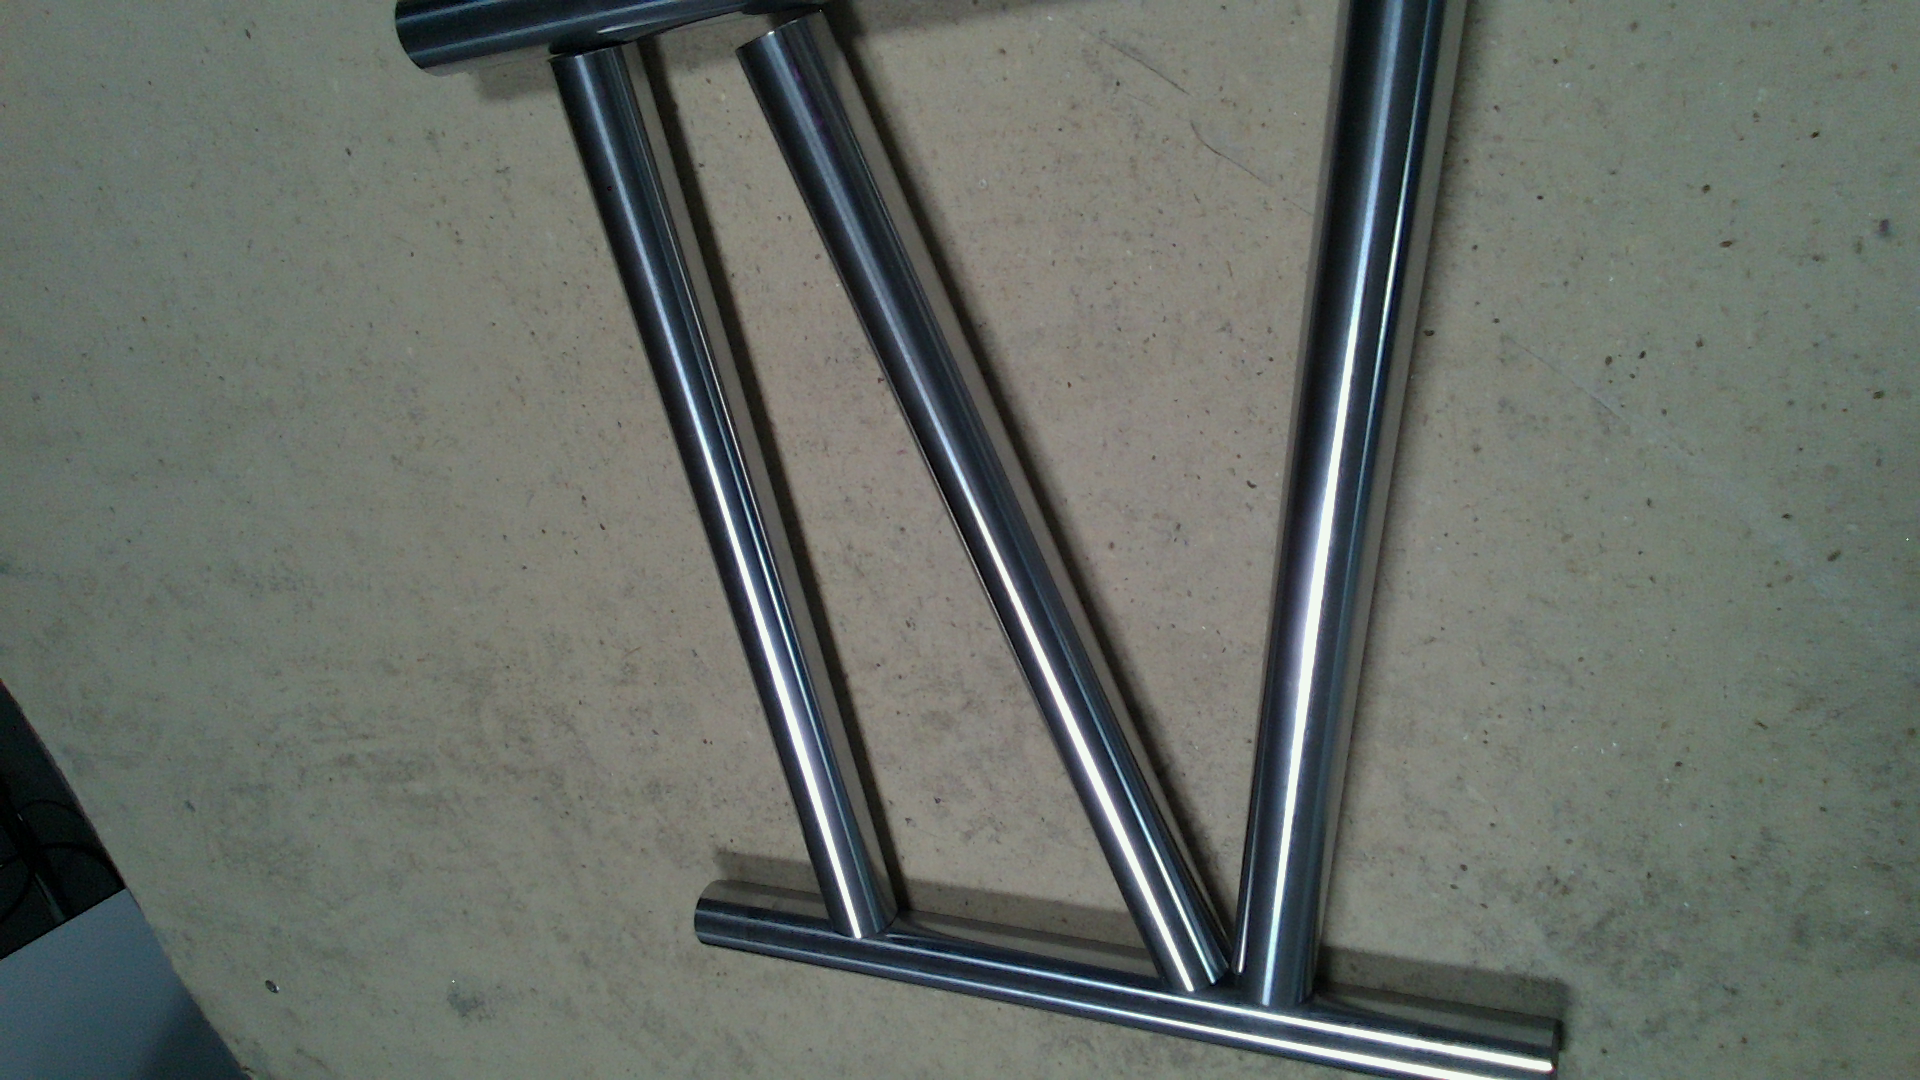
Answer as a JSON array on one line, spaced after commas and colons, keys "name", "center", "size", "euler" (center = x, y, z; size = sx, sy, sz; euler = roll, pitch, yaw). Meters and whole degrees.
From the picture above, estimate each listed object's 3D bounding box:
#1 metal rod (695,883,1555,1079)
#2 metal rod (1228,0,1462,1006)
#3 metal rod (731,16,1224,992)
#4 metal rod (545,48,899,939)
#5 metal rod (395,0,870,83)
[{"name": "metal rod", "center": [0.038, 0.147, 0.463], "size": [0.299, 0.025, 0.025], "euler": [1, 119, 28]}, {"name": "metal rod", "center": [0.091, 0.005, 0.346], "size": [0.025, 0.025, 0.300], "euler": [12, 124, 22]}, {"name": "metal rod", "center": [0.014, 0.004, 0.387], "size": [0.025, 0.025, 0.300], "euler": [-12, 112, 33]}, {"name": "metal rod", "center": [-0.066, 0.002, 0.429], "size": [0.025, 0.025, 0.300], "euler": [1, 119, 28]}, {"name": "metal rod", "center": [-0.015, -0.138, 0.315], "size": [0.299, 0.025, 0.025], "euler": [1, 119, 28]}]
